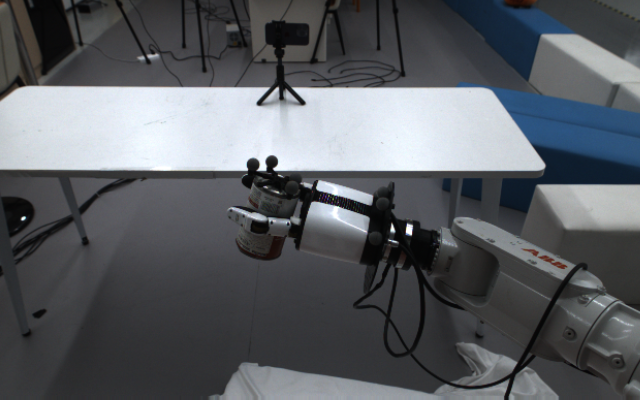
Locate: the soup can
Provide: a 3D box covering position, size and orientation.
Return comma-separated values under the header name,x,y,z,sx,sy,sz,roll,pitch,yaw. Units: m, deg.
name,x,y,z,sx,sy,sz,roll,pitch,yaw
soup can,-0.071,0.025,0.670,0.067,0.101,0.067,17,21,-7
